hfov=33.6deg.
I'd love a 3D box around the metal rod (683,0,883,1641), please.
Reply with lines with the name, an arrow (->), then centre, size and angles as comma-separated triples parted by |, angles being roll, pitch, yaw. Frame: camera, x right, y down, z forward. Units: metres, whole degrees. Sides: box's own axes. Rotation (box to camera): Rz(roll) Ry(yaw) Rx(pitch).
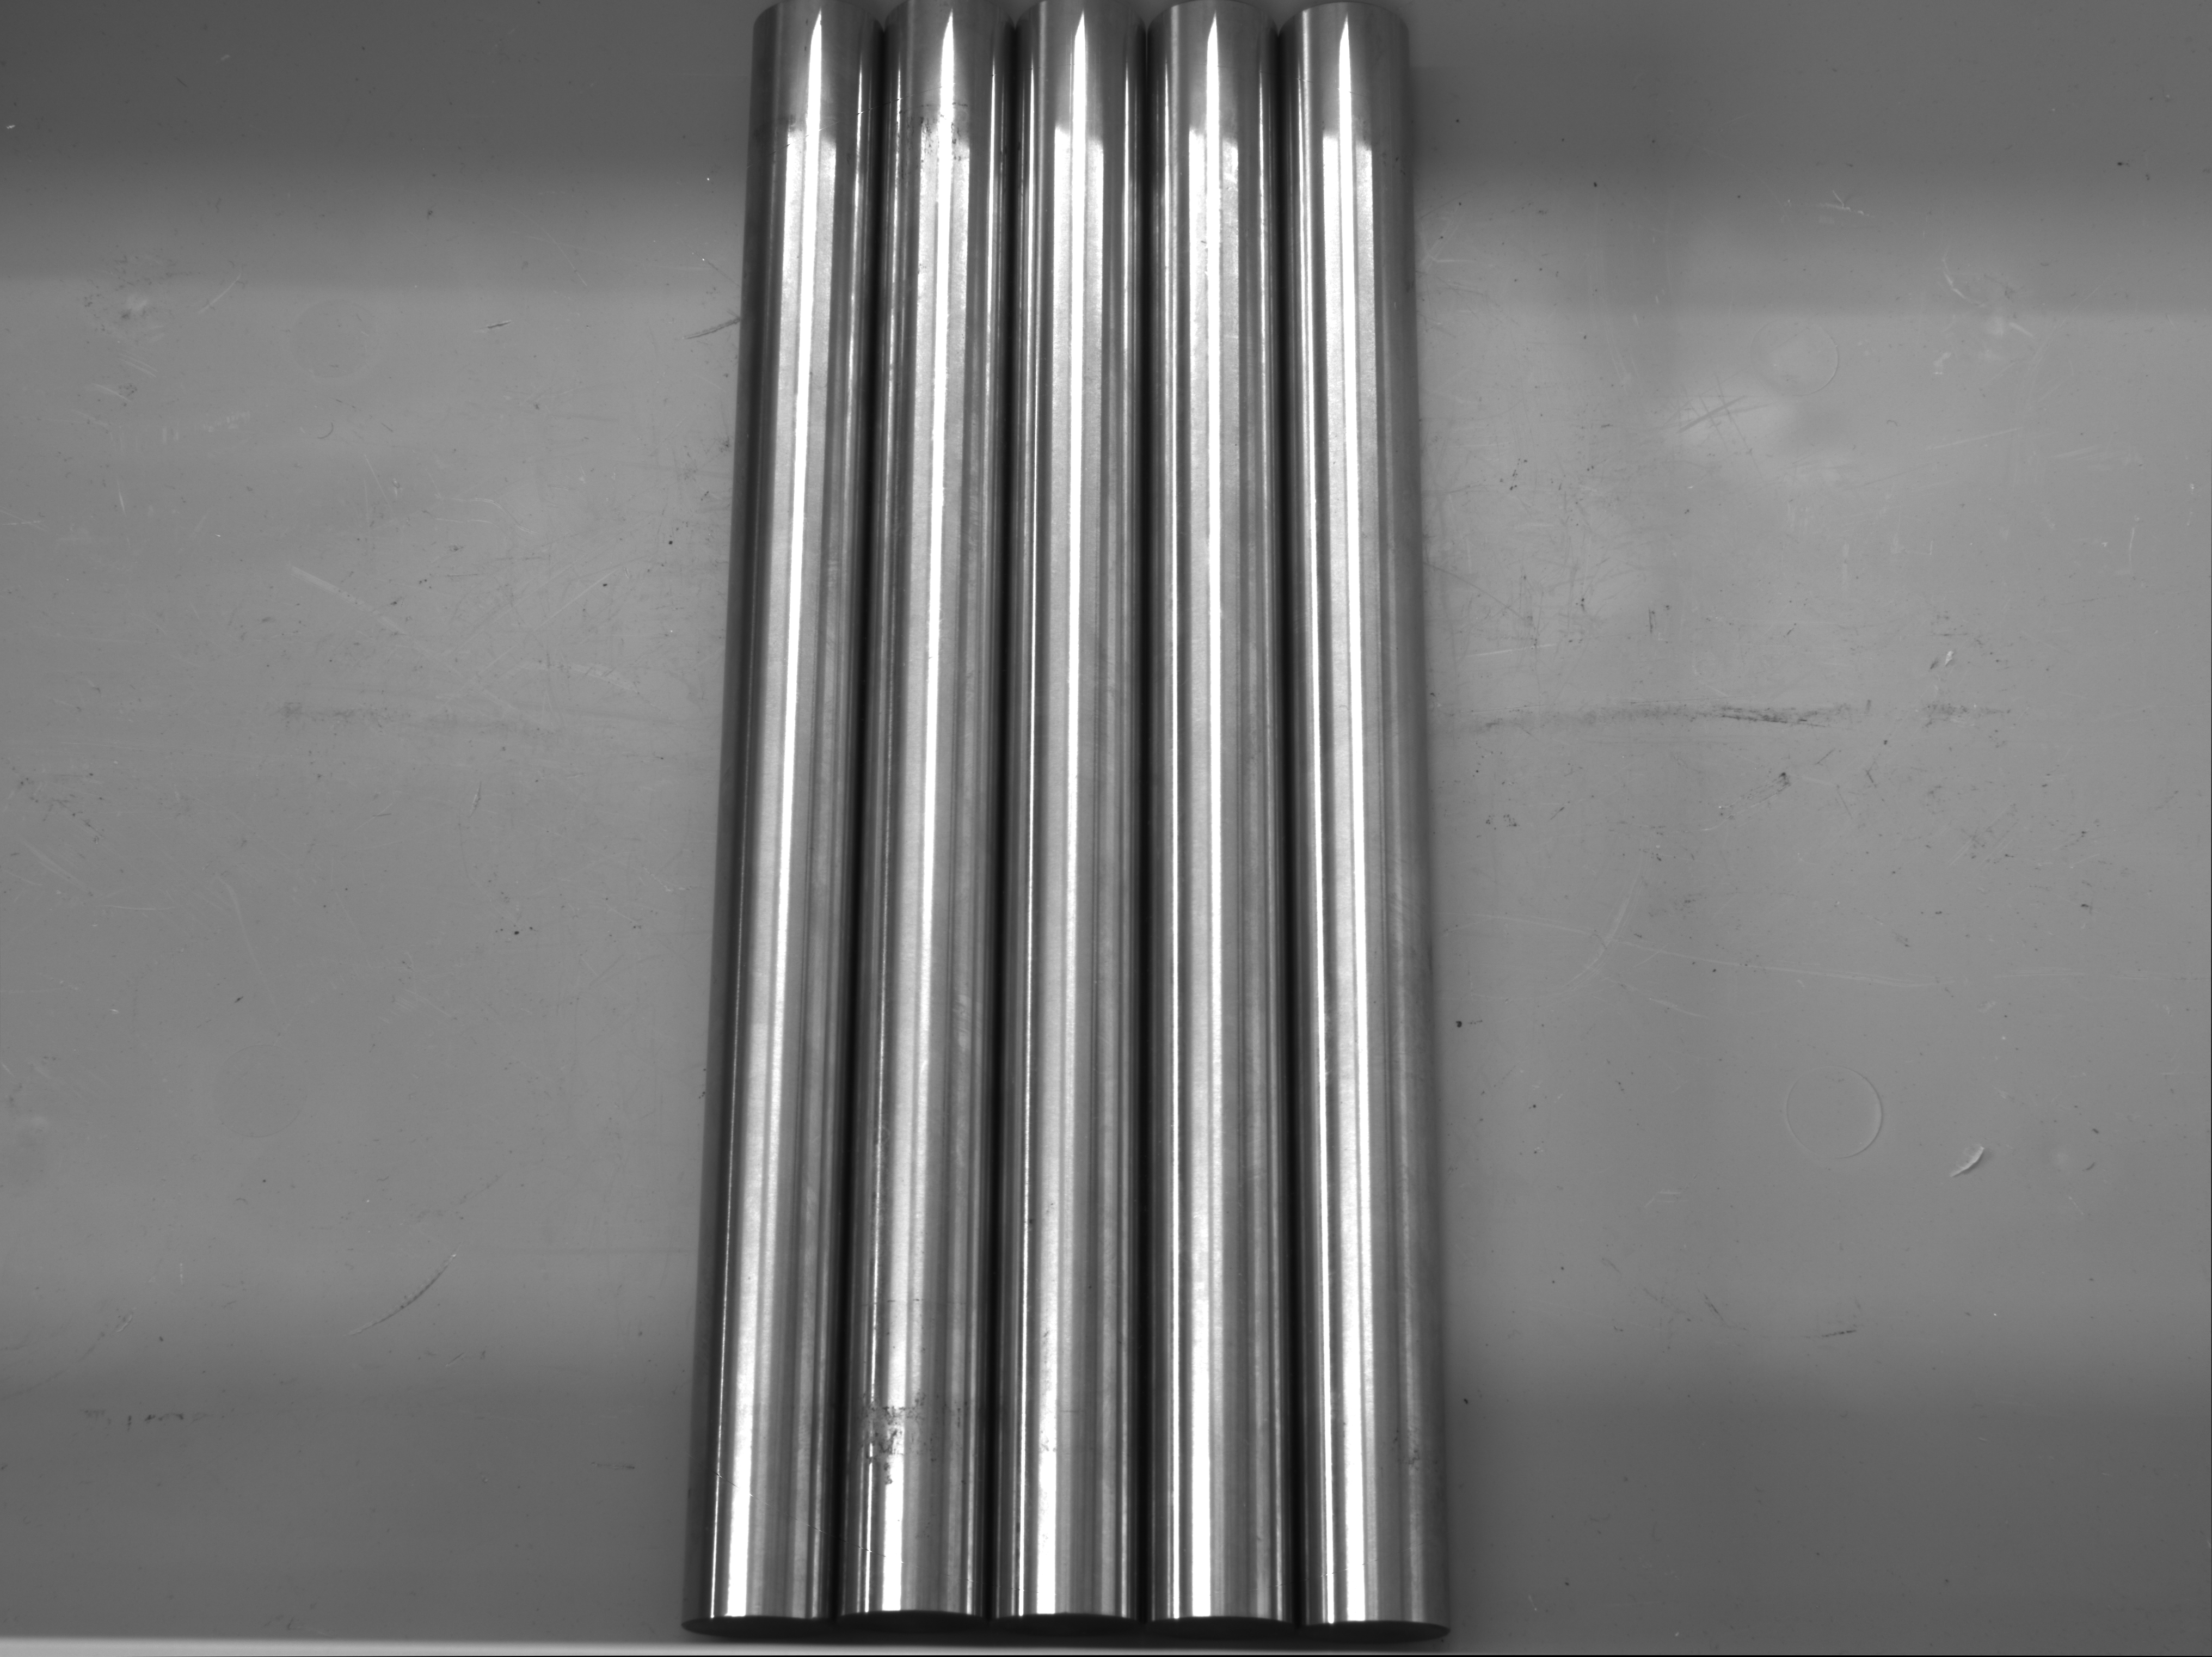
metal rod -> -0.055, -0.010, 0.648 | 0.025, 0.025, 0.300 | 0, 70, 0

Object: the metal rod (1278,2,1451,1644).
metal rod -> 0.044, -0.010, 0.648 | 0.025, 0.025, 0.300 | 0, 70, 0

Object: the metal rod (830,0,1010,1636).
metal rod -> -0.032, -0.011, 0.648 | 0.025, 0.025, 0.300 | 0, 70, 0

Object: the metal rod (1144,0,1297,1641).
metal rod -> 0.019, -0.011, 0.648 | 0.025, 0.025, 0.300 | 0, 70, 0

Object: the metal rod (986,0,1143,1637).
metal rod -> -0.006, -0.011, 0.648 | 0.025, 0.025, 0.300 | 0, 70, 0
